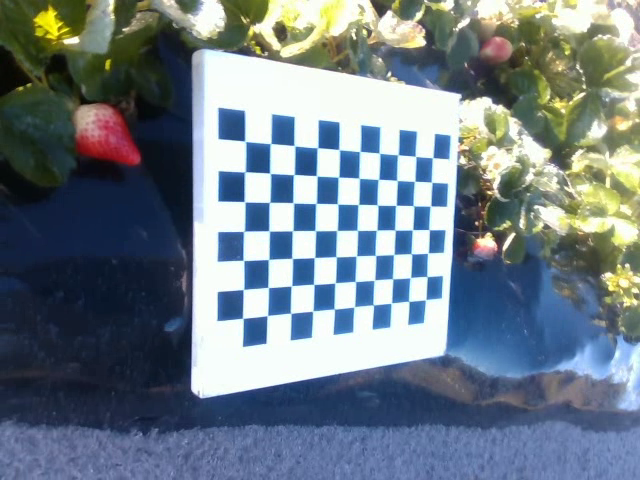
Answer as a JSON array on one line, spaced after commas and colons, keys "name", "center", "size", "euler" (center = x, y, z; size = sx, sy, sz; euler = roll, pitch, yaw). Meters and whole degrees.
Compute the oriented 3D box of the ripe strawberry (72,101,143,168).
[{"name": "ripe strawberry", "center": [-0.166, -0.077, 0.494], "size": [0.040, 0.040, 0.065], "euler": [4, -36, 52]}]
